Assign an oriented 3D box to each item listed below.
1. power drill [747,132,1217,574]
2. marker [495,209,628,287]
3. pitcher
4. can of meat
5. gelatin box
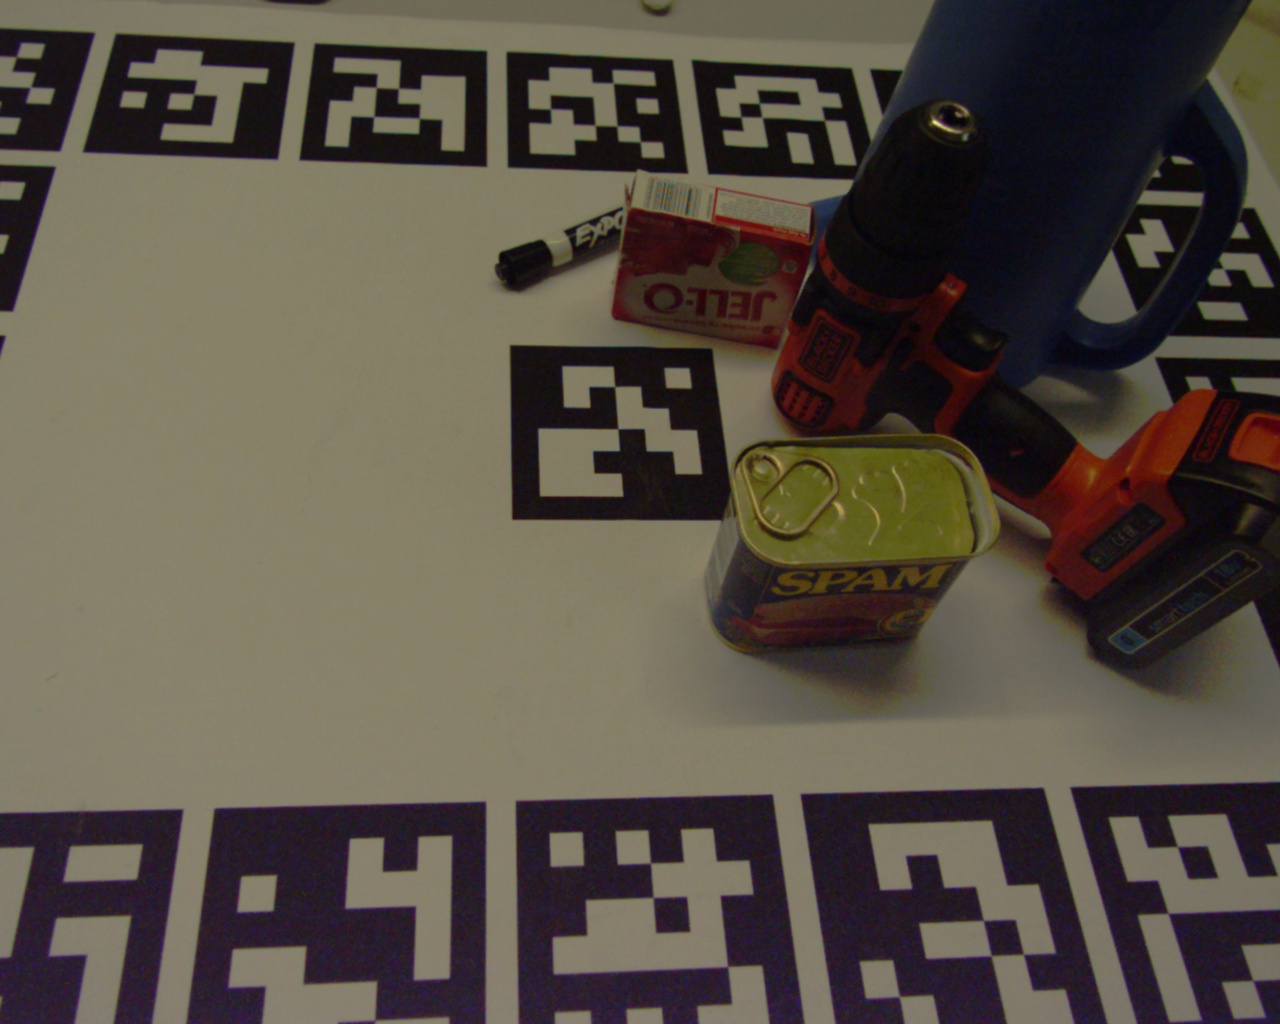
[{"bbox_3d":[0.145,-0.061,0.503,0.187,0.185,0.057,33,63,6],"label":"power drill"},{"bbox_3d":[-0.025,-0.152,0.632,0.120,0.019,0.020,-25,66,-19],"label":"marker"},{"bbox_3d":[0.188,-0.162,0.543,0.190,0.241,0.133,25,62,15],"label":"pitcher"},{"bbox_3d":[0.077,0.018,0.502,0.101,0.083,0.058,-1,57,-8],"label":"can of meat"},{"bbox_3d":[0.036,-0.118,0.590,0.089,0.073,0.030,10,62,-3],"label":"gelatin box"}]
